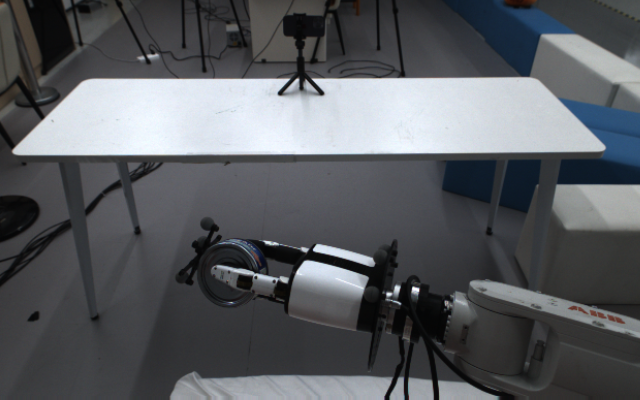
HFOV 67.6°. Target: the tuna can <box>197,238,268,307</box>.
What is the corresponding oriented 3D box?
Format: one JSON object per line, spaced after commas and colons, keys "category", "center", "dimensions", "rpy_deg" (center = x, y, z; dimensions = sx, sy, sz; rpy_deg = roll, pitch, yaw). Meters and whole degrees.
{"category": "tuna can", "center": [-0.109, 0.096, 0.614], "dimensions": [0.085, 0.085, 0.034], "rpy_deg": [9, 6, 9]}
